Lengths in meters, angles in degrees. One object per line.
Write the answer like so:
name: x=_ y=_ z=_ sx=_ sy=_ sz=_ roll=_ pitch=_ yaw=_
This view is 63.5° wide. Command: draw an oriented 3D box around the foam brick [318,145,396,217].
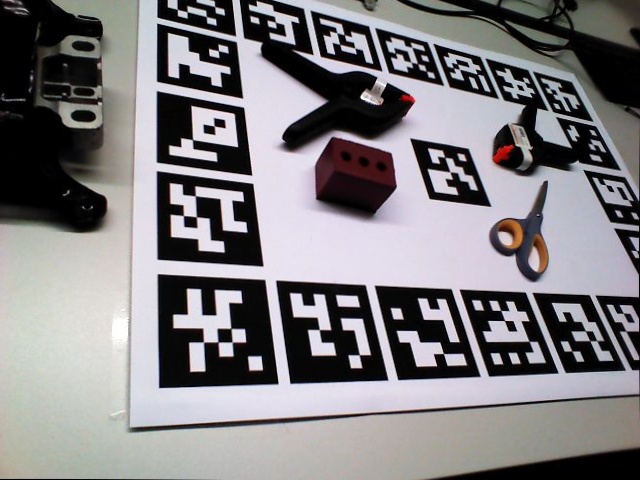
foam brick: x=0.041 y=-0.066 z=0.590 sx=0.078 sy=0.052 sz=0.052 roll=9 pitch=58 yaw=-16

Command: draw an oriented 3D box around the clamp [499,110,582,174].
clamp: x=0.331 y=-0.146 z=0.797 sx=0.164 sy=0.037 sz=0.122 roll=-25 pitch=81 yaw=-35

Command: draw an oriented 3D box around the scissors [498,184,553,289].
scissors: x=0.294 y=-0.023 z=0.705 sx=0.088 sy=0.016 sz=0.201 roll=42 pitch=49 yaw=-7

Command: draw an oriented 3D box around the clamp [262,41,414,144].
clamp: x=0.035 y=-0.180 z=0.665 sx=0.202 sy=0.037 sz=0.165 roll=1 pitch=57 yaw=-27
